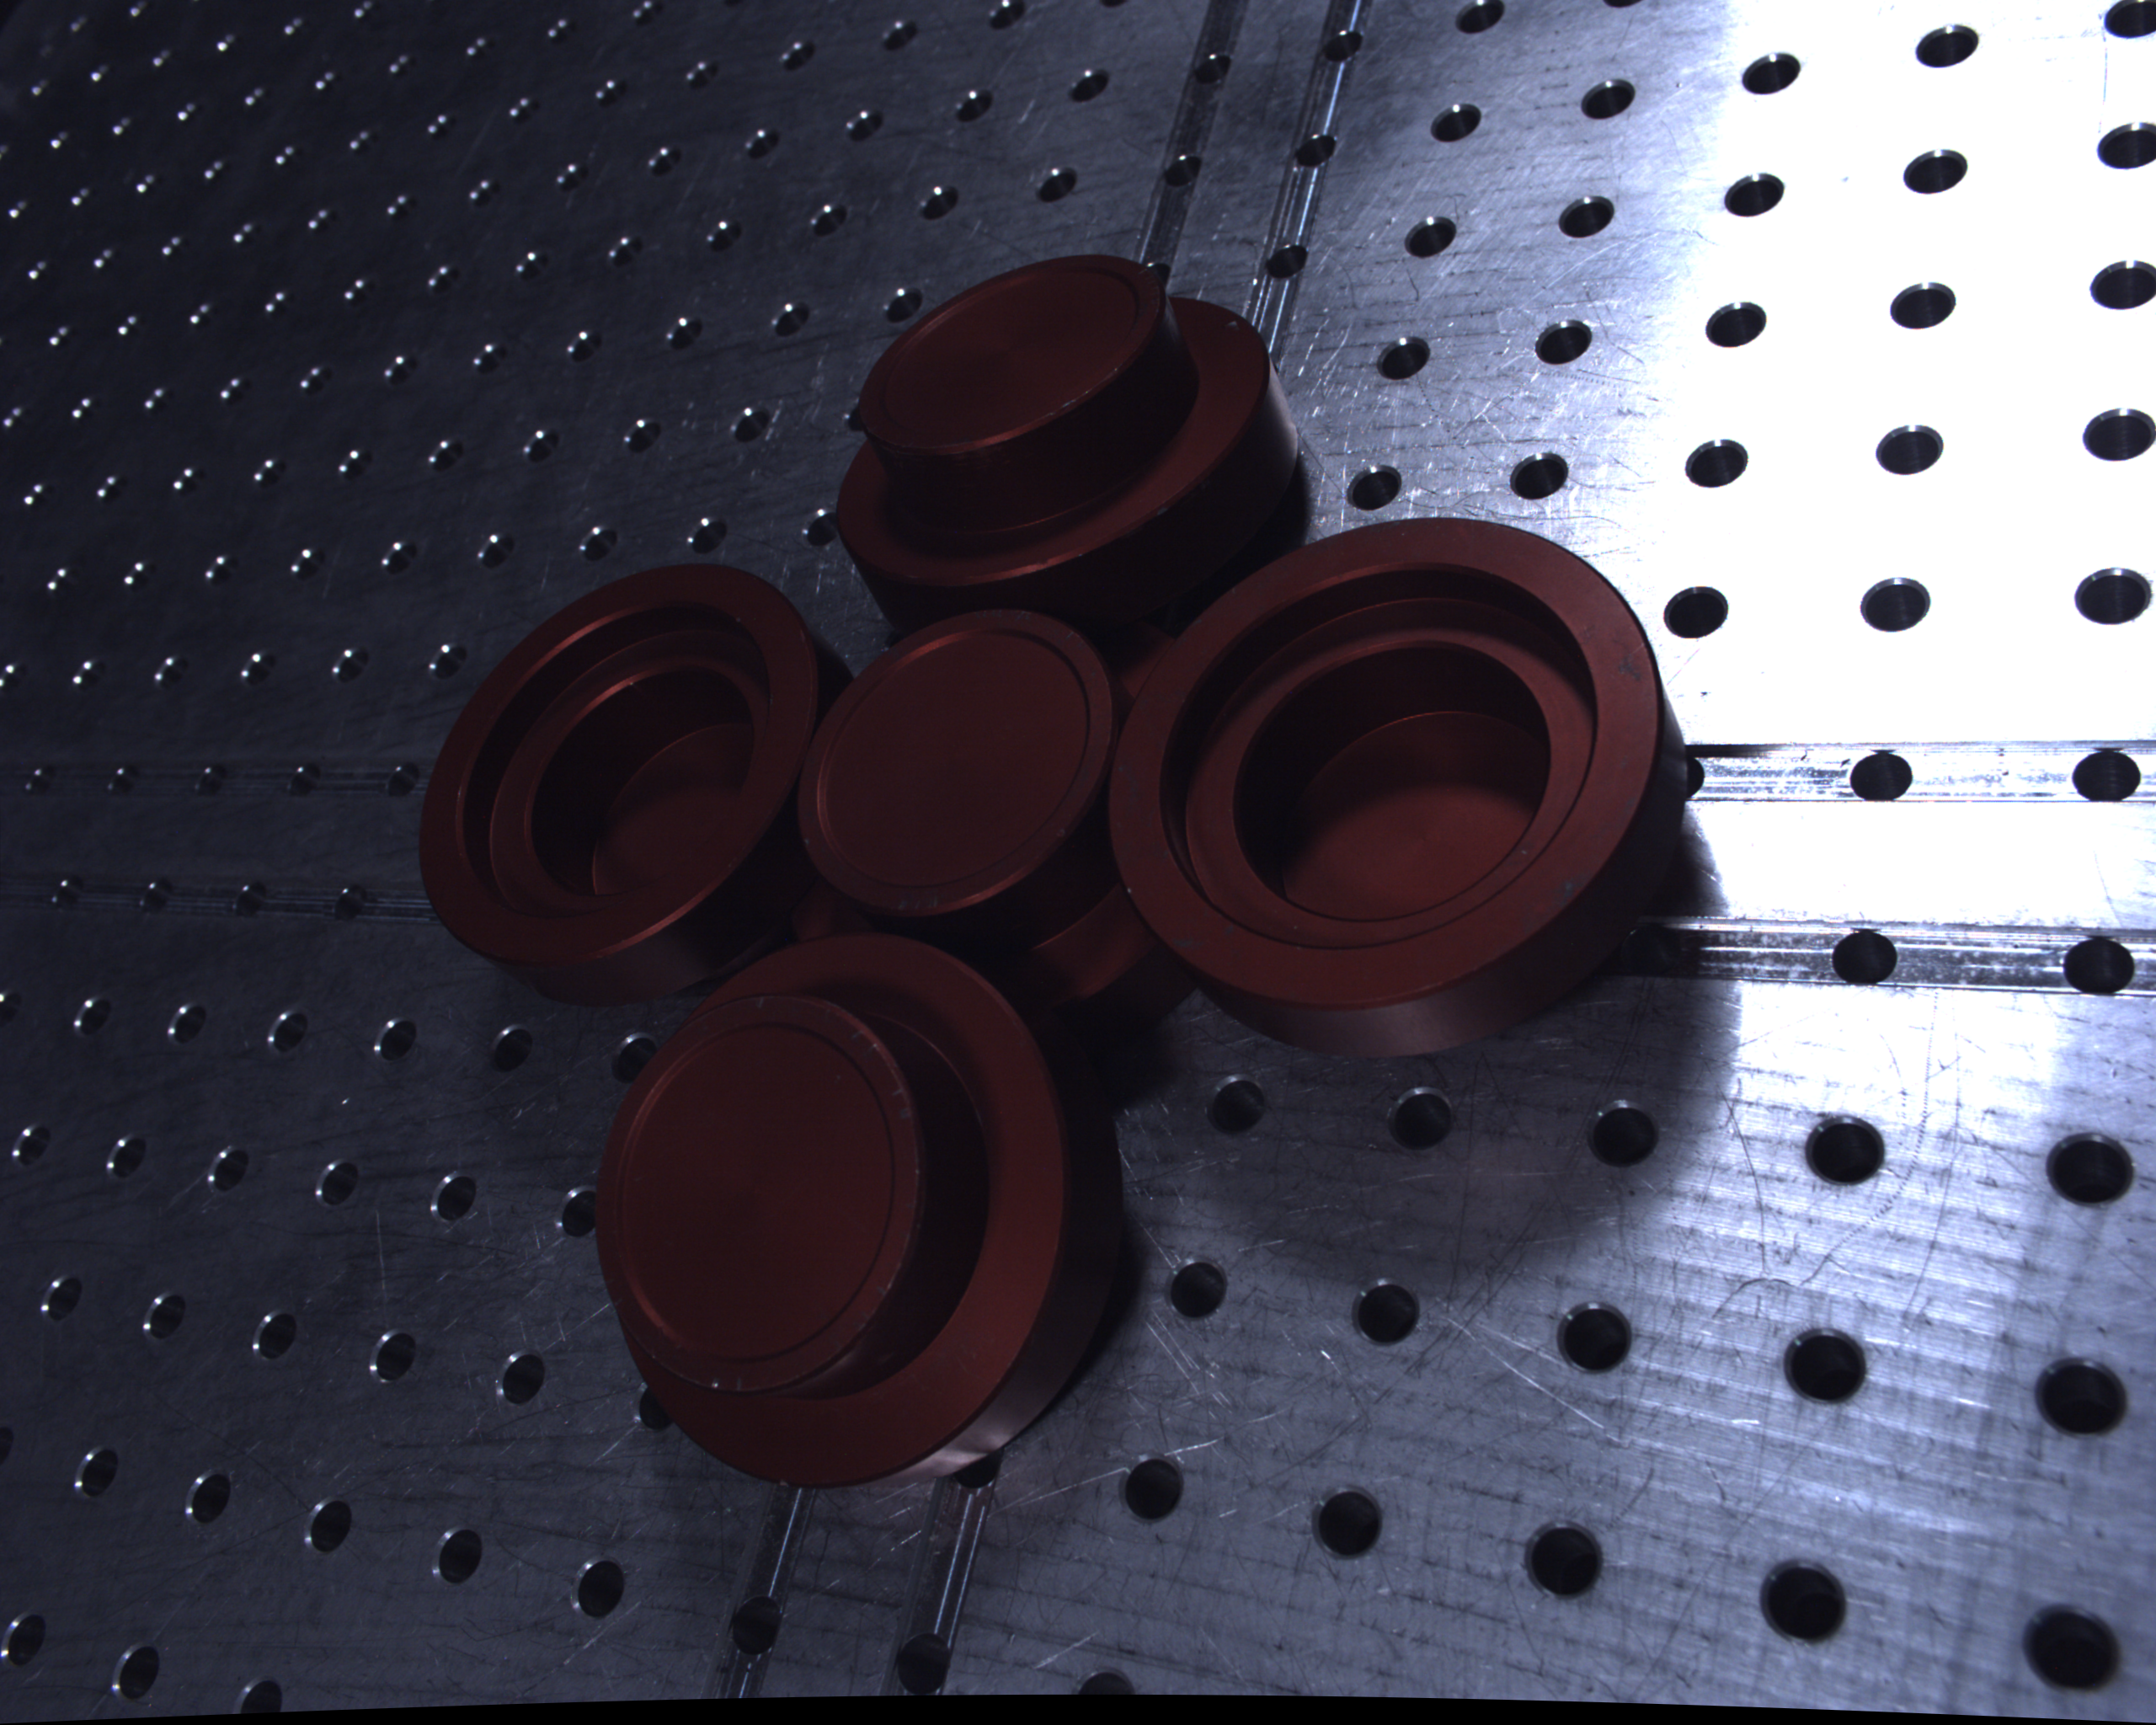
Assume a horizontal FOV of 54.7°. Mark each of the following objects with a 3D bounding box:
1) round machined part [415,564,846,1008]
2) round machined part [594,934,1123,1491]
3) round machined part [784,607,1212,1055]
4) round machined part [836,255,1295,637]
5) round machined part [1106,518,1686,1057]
[{"bbox_3d":[-0.089,-0.013,0.450,0.098,0.042,0.098,-13,56,20],"label":"round machined part"},{"bbox_3d":[-0.045,0.060,0.368,0.098,0.042,0.098,-8,73,26],"label":"round machined part"},{"bbox_3d":[-0.016,-0.011,0.410,0.098,0.042,0.098,-13,56,20],"label":"round machined part"},{"bbox_3d":[-0.007,-0.091,0.441,0.098,0.042,0.098,-16,41,15],"label":"round machined part"},{"bbox_3d":[0.058,-0.010,0.371,0.098,0.042,0.098,-13,56,20],"label":"round machined part"}]
